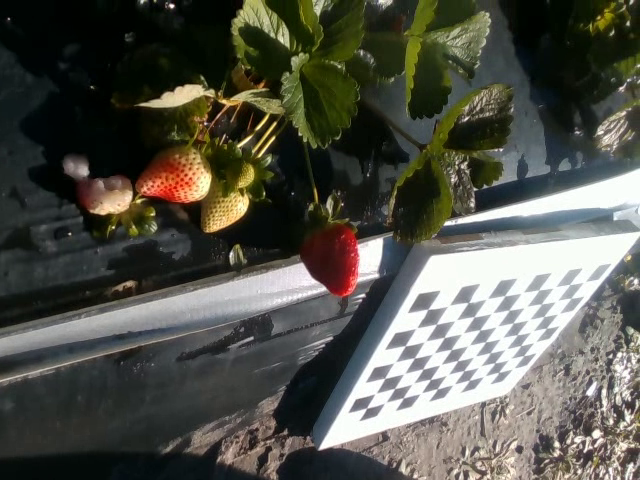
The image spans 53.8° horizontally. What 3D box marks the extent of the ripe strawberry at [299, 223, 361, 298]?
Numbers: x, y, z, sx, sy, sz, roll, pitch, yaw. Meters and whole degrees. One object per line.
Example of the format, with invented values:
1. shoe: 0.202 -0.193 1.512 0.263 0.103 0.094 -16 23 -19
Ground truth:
1. ripe strawberry: 0.007 0.013 0.340 0.036 0.046 0.038 -4 -31 -29
